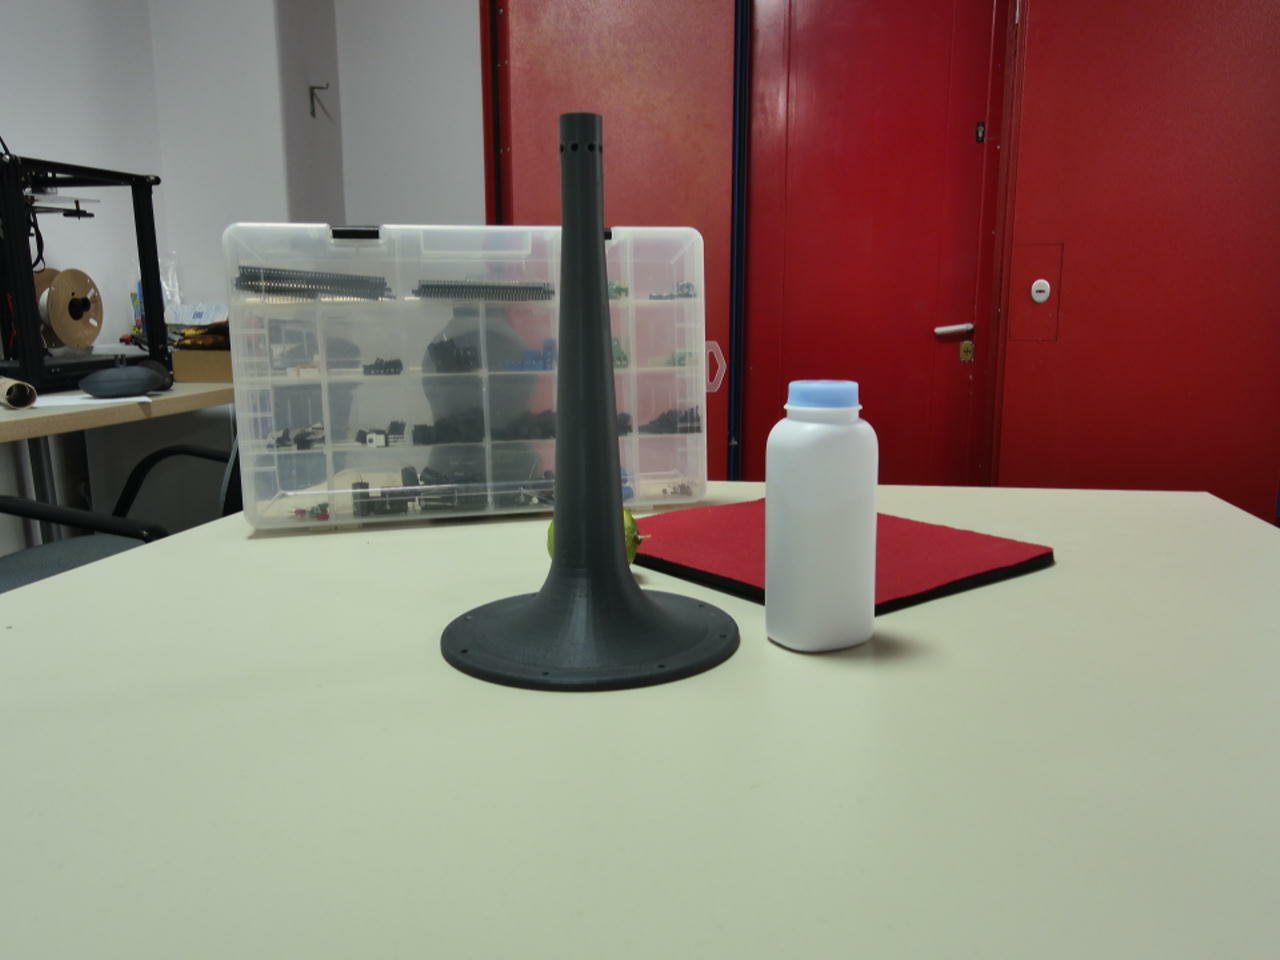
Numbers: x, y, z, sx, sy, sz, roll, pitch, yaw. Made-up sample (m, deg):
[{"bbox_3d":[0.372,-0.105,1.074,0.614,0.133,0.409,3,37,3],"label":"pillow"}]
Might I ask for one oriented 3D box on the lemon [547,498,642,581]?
[{"bbox_3d":[-0.029,0.037,0.618,0.054,0.050,0.055,-4,9,-28],"label":"lemon"}]
